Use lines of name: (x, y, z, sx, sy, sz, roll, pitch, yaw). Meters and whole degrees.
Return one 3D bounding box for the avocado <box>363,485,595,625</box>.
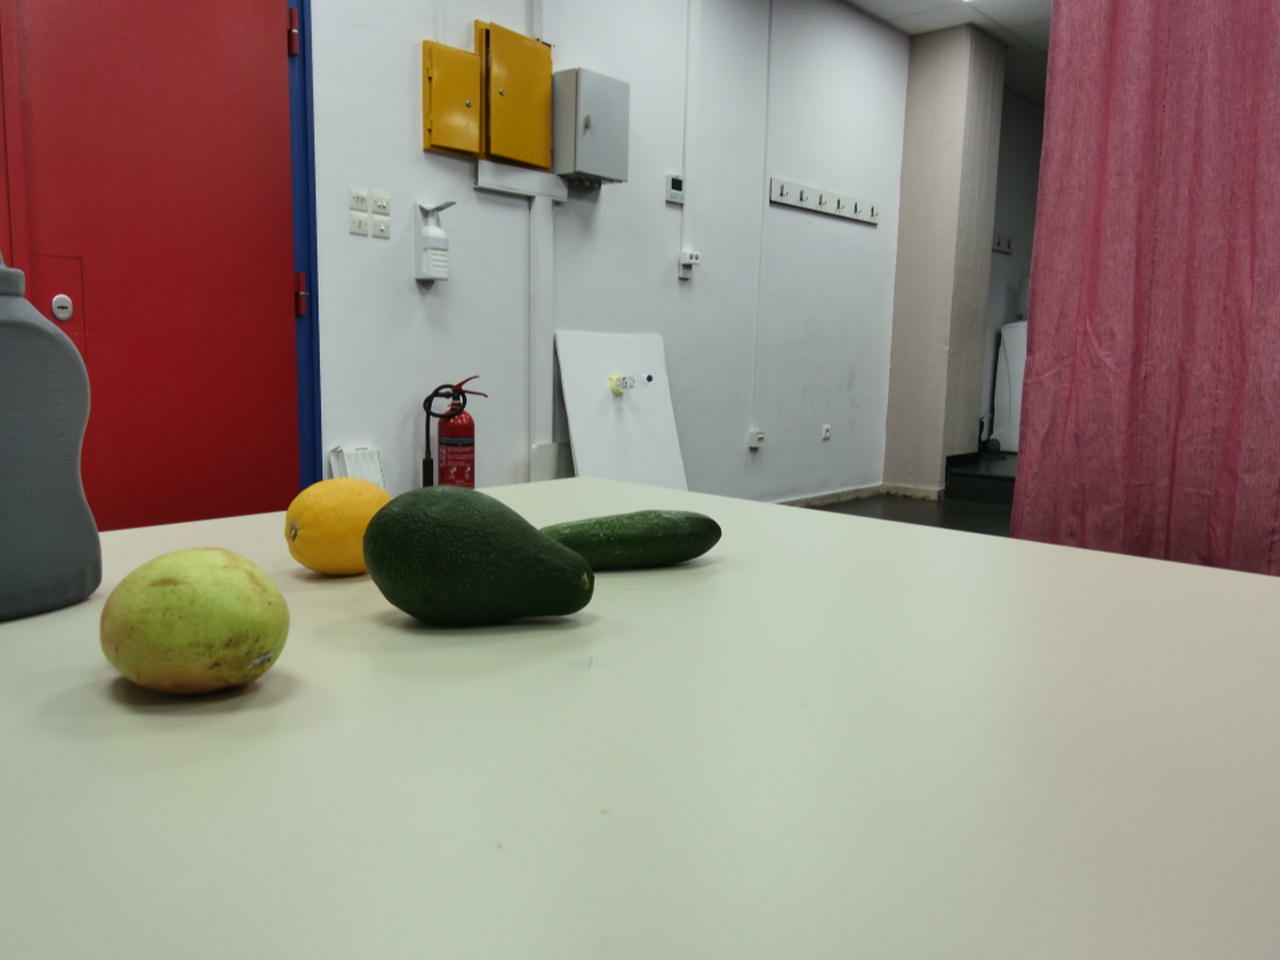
avocado: (-0.083, 0.038, 0.509, 0.110, 0.071, 0.072, 2, 6, 18)
